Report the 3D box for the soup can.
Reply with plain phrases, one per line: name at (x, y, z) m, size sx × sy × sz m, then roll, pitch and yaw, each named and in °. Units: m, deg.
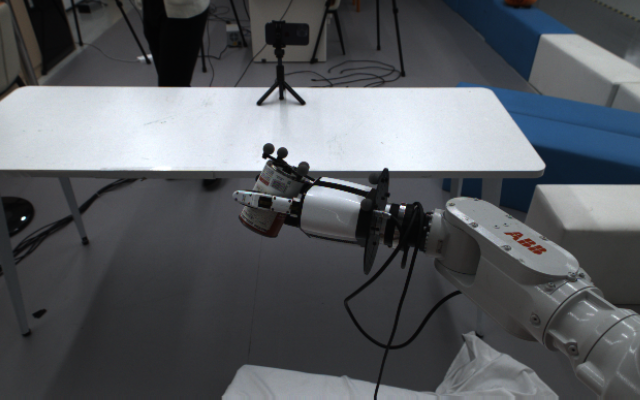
soup can at (-0.073, -0.001, 0.745) m, size 0.067 × 0.101 × 0.067 m, roll 27°, pitch 10°, yaw -5°
